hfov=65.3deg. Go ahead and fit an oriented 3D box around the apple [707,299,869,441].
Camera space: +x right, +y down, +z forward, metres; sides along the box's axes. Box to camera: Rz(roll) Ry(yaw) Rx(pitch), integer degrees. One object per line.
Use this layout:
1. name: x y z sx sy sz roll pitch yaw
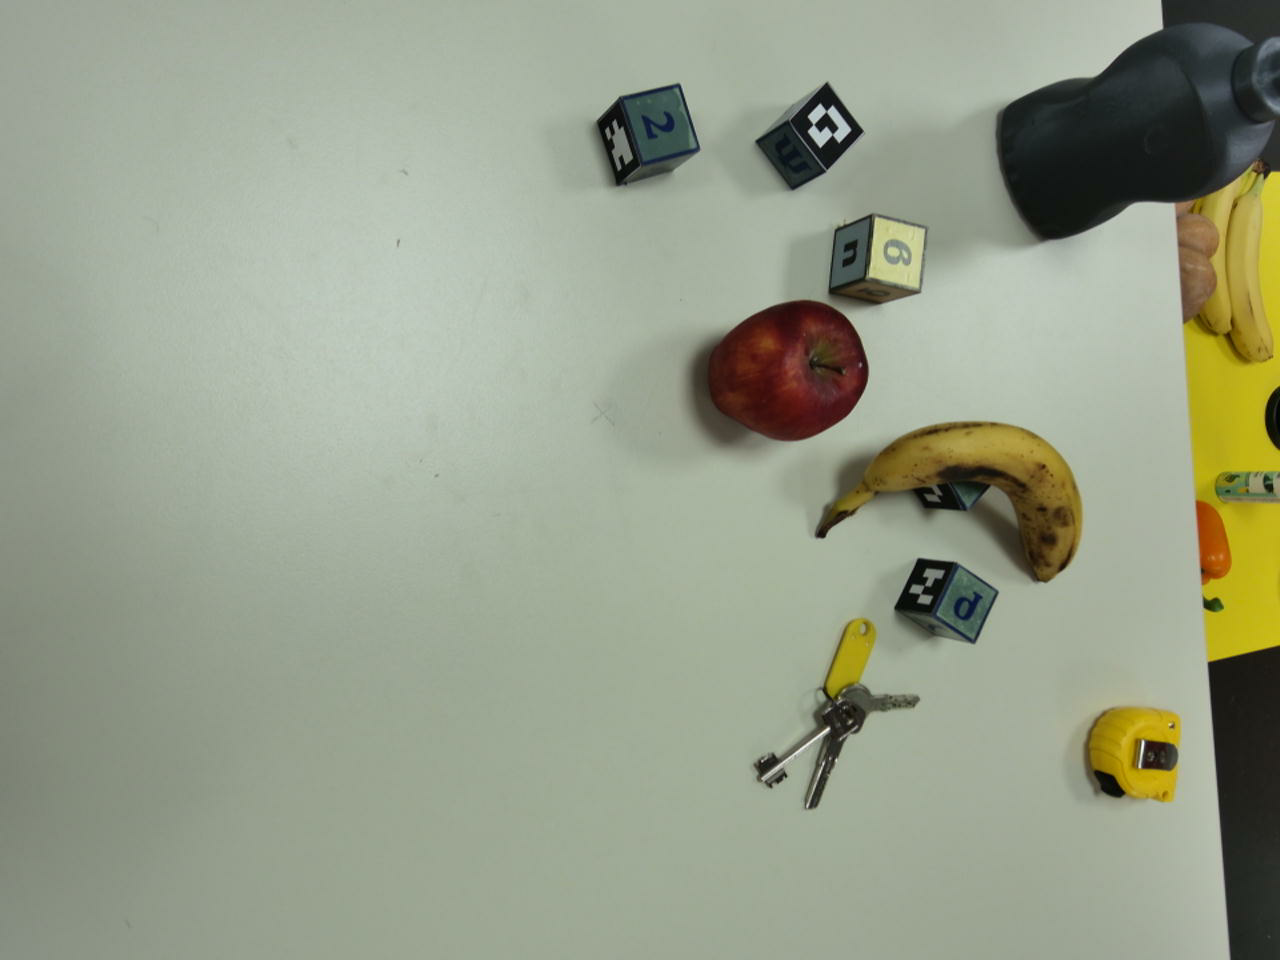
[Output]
1. apple: 0.084 -0.060 0.553 0.083 0.090 0.083 0 90 -22
